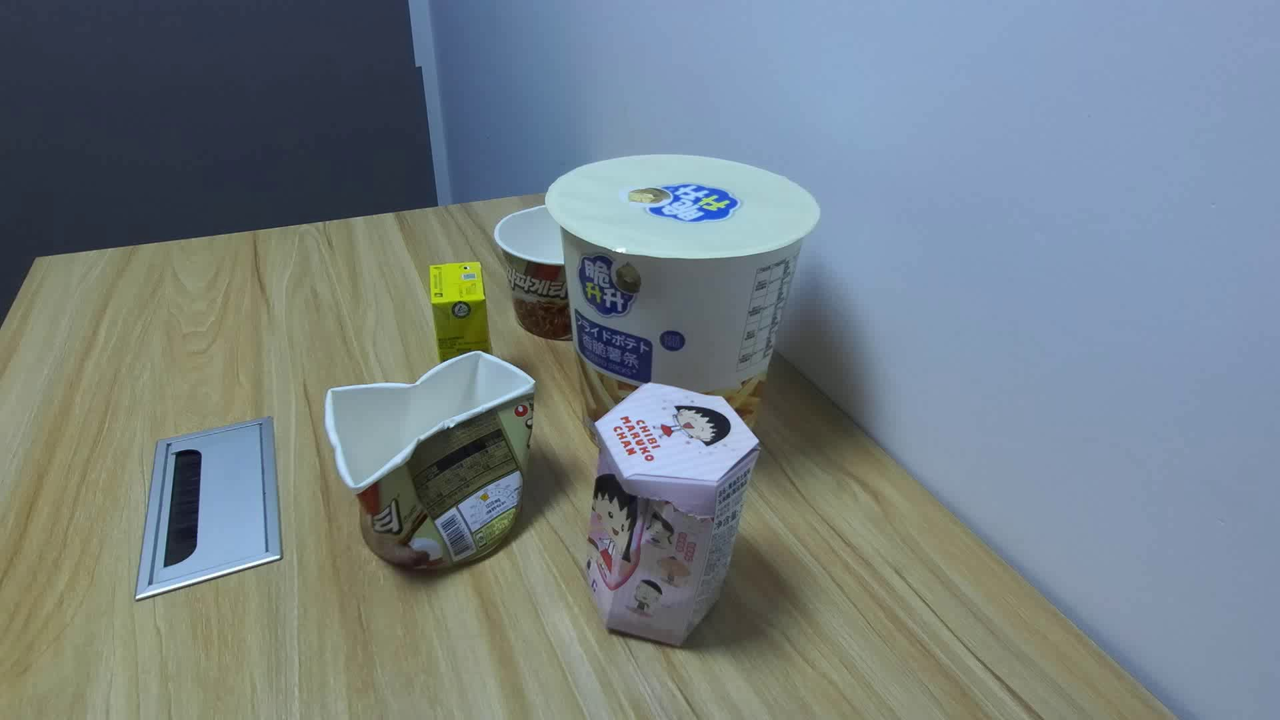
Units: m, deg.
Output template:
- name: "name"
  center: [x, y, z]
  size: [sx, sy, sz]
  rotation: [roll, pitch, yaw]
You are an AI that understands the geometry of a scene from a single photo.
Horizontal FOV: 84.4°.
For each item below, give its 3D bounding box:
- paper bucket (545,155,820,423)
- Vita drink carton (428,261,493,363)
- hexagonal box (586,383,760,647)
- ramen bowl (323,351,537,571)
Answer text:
- name: "paper bucket"
  center: [0.027, -0.034, 0.546]
  size: [0.198, 0.195, 0.198]
  rotation: [1, 35, -1]
- name: "Vita drink carton"
  center: [-0.147, -0.019, 0.592]
  size: [0.044, 0.109, 0.066]
  rotation: [-7, 37, -14]
- name: "hexagonal box"
  center: [0.016, 0.090, 0.418]
  size: [0.090, 0.134, 0.091]
  rotation: [14, 36, 12]
- name: "ramen bowl"
  center: [-0.132, 0.066, 0.479]
  size: [0.129, 0.093, 0.111]
  rotation: [-16, 39, -26]
